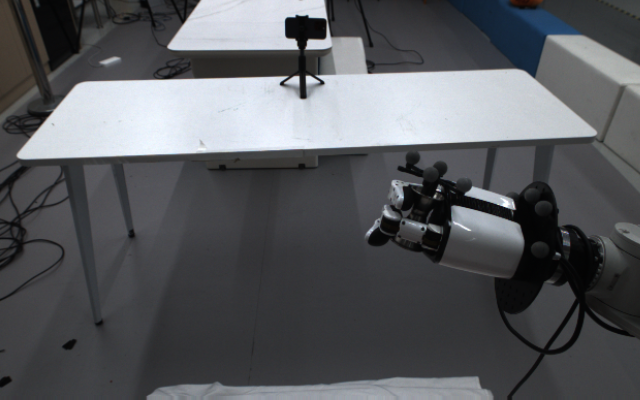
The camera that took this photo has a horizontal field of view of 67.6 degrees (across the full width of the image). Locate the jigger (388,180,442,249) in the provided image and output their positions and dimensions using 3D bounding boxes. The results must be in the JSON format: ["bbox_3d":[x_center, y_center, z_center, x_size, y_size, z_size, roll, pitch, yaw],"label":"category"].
[{"bbox_3d":[0.116,0.022,0.573,0.043,0.071,0.043,18,17,-6],"label":"jigger"}]
